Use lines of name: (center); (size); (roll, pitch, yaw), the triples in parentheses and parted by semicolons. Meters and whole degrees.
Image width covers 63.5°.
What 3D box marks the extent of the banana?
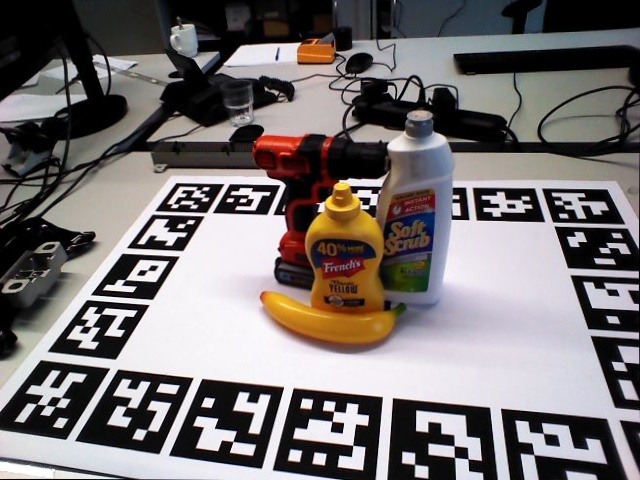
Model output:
banana: (0.015, 0.098, 0.650); (0.198, 0.039, 0.073); (4, 39, 18)

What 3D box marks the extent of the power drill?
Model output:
power drill: (0.004, -0.047, 0.667); (0.185, 0.187, 0.057); (11, 40, 21)

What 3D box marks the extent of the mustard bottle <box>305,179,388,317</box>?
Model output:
mustard bottle: (0.032, 0.013, 0.616); (0.096, 0.192, 0.058); (3, 38, 12)

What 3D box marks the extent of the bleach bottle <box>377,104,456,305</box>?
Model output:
bleach bottle: (0.110, -0.038, 0.631); (0.103, 0.251, 0.067); (4, 33, 14)
